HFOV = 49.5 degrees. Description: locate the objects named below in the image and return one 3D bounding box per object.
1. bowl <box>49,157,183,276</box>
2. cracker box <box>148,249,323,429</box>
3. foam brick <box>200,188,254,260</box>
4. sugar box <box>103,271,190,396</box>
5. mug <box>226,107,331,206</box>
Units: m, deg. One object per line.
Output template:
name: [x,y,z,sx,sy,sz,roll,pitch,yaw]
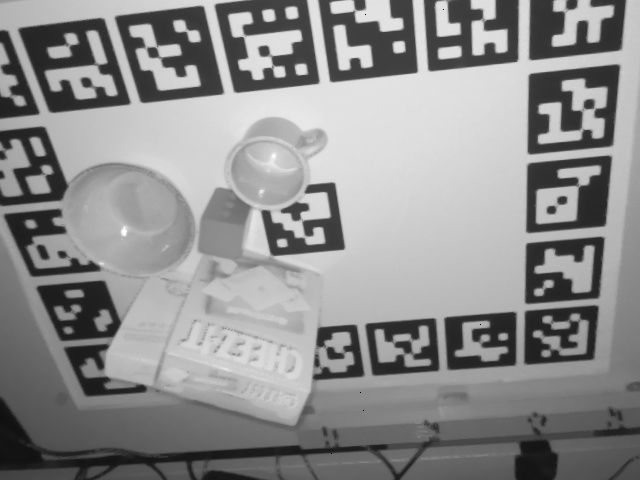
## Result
bowl: [-0.239,-0.037,0.845,0.161,0.055,0.160,1,119,3]
cracker box: [-0.091,0.101,0.838,0.165,0.216,0.071,22,122,-8]
foam brick: [-0.114,-0.021,0.852,0.053,0.079,0.051,9,121,-2]
sugar box: [-0.198,0.111,0.869,0.093,0.178,0.045,14,120,-5]
mug: [-0.044,-0.101,0.790,0.117,0.082,0.093,-13,127,9]
